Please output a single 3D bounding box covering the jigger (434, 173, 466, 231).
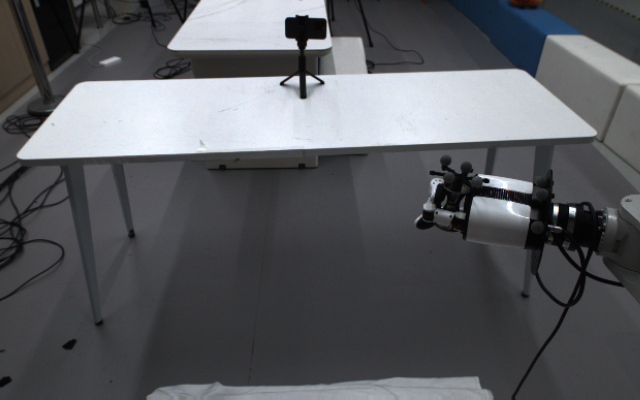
[{"bbox_3d":[0.208,0.010,0.758,0.043,0.071,0.043,6,26,-3],"label":"jigger"}]
